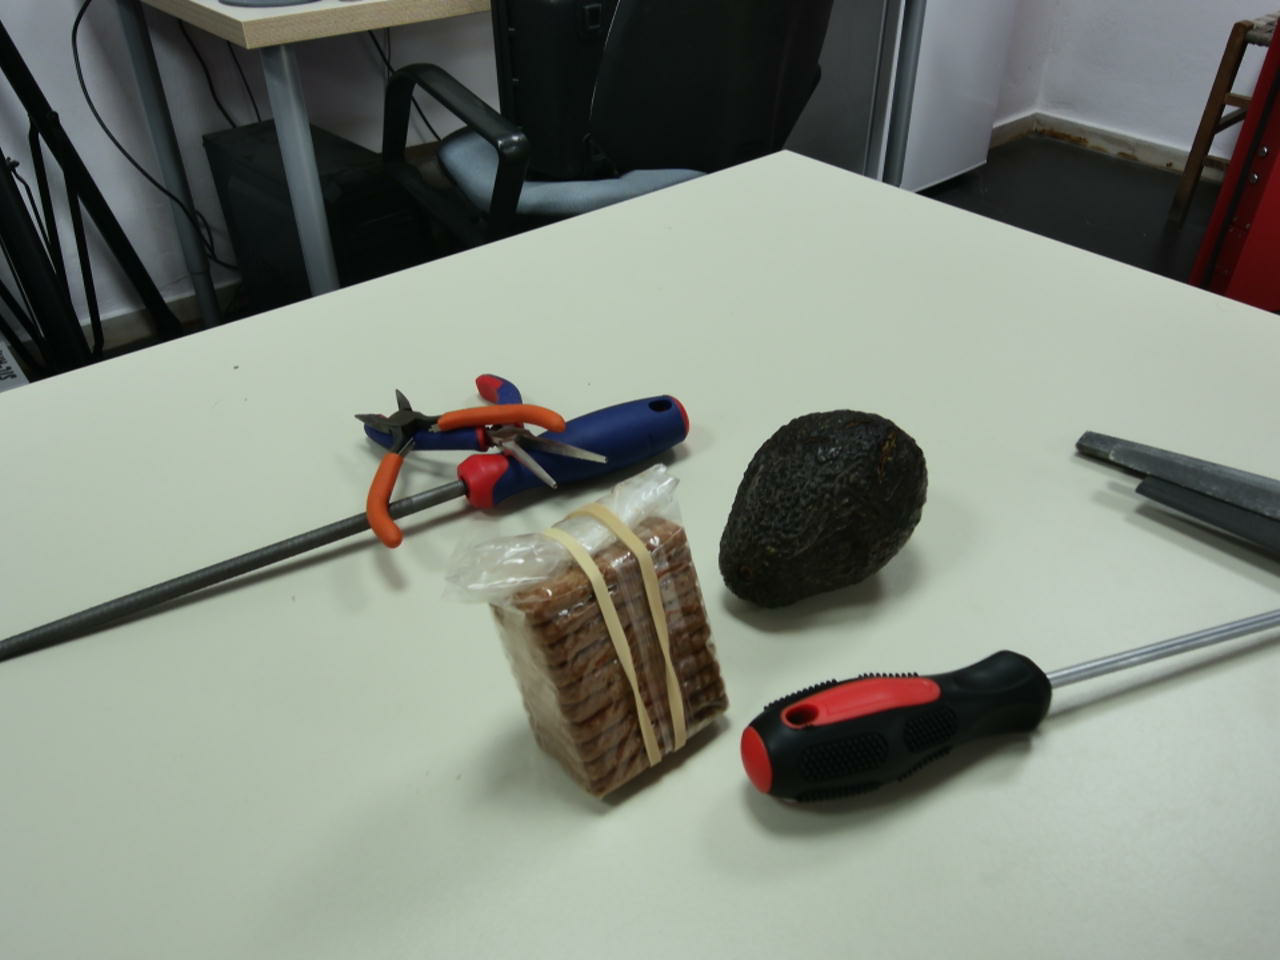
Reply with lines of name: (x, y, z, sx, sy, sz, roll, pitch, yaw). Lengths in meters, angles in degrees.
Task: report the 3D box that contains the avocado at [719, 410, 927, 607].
avocado: (0.073, 0.007, 0.409, 0.090, 0.069, 0.070, -7, 35, -10)
